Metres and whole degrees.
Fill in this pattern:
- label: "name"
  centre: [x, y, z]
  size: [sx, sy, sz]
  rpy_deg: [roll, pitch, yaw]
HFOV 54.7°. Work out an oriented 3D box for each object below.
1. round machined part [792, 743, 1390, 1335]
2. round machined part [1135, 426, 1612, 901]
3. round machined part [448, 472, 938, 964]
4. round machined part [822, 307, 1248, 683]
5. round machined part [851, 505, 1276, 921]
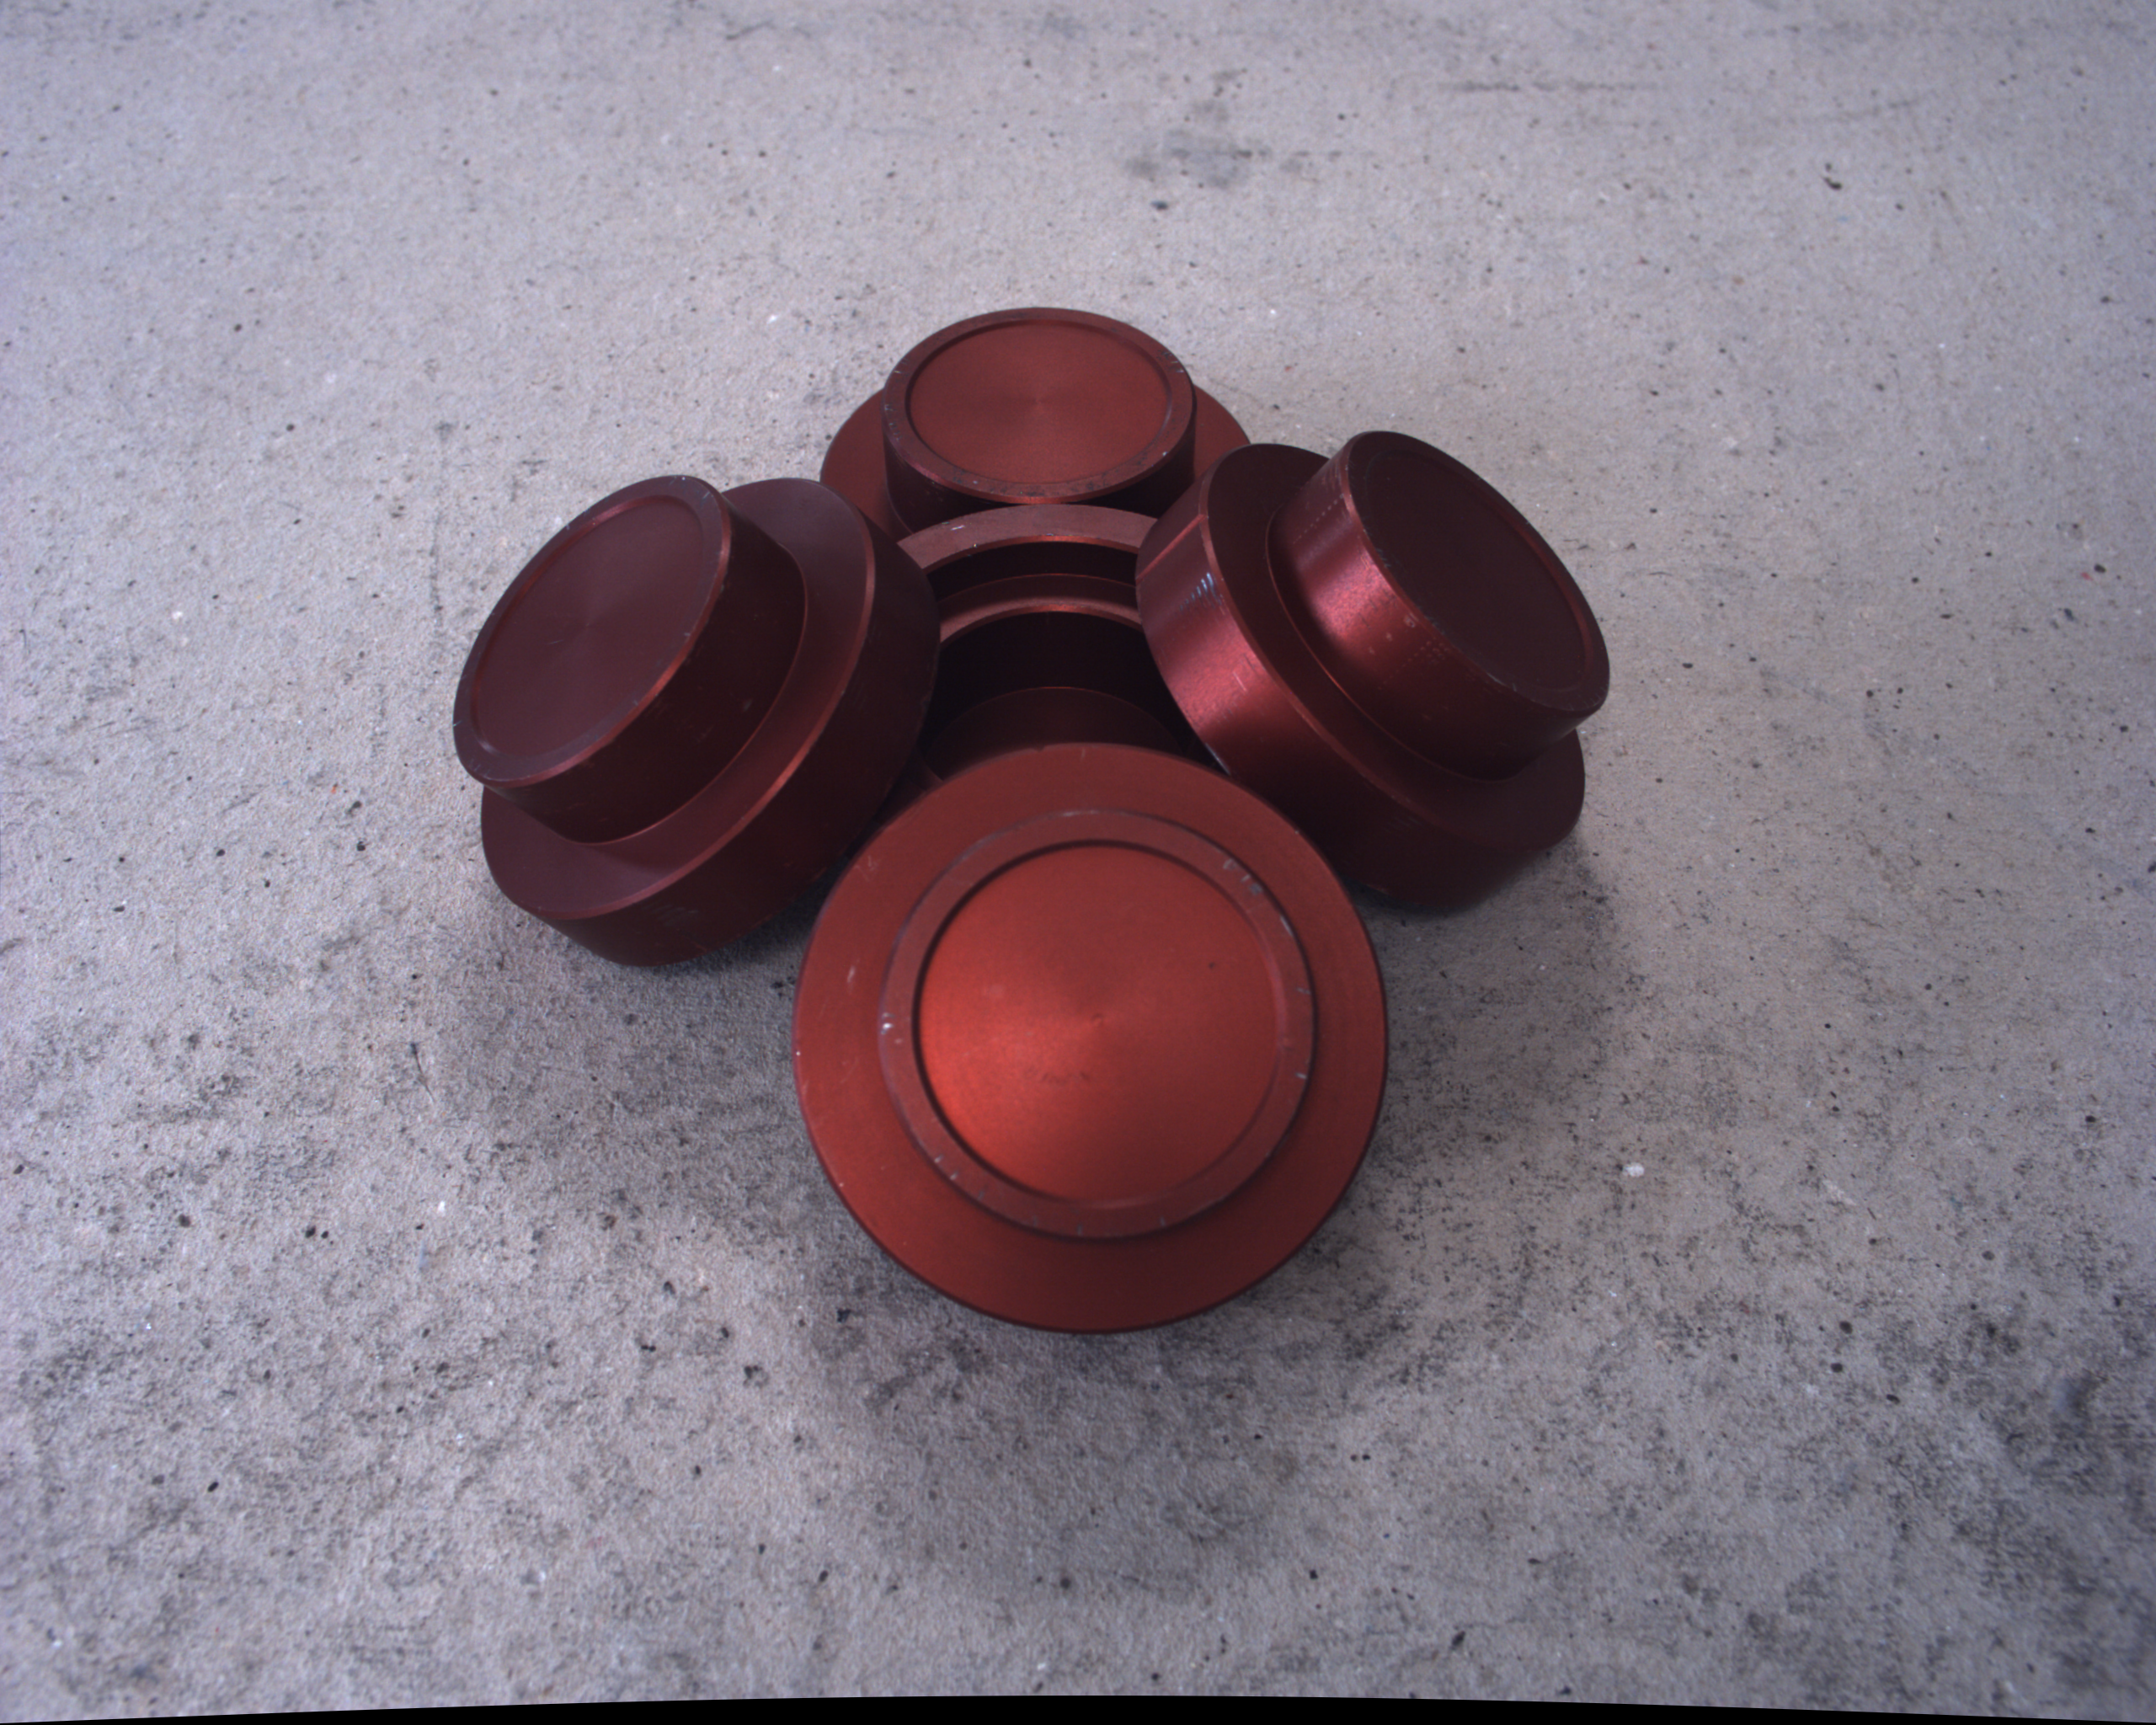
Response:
- label: "round machined part"
  centre: [0.002, 0.028, 0.342]
  size: [0.099, 0.042, 0.098]
  rpy_deg: [0, 80, -2]
- label: "round machined part"
  centre: [0.062, -0.044, 0.398]
  size: [0.098, 0.042, 0.098]
  rpy_deg: [27, 40, -25]
- label: "round machined part"
  centre: [-0.078, -0.034, 0.390]
  size: [0.098, 0.042, 0.098]
  rpy_deg: [-20, 50, 26]
- label: "round machined part"
  centre: [-0.008, -0.088, 0.467]
  size: [0.099, 0.042, 0.098]
  rpy_deg: [0, 48, 0]
- label: "round machined part"
  centre: [-0.004, -0.024, 0.413]
  size: [0.099, 0.042, 0.098]
  rpy_deg: [-1, 49, 2]
